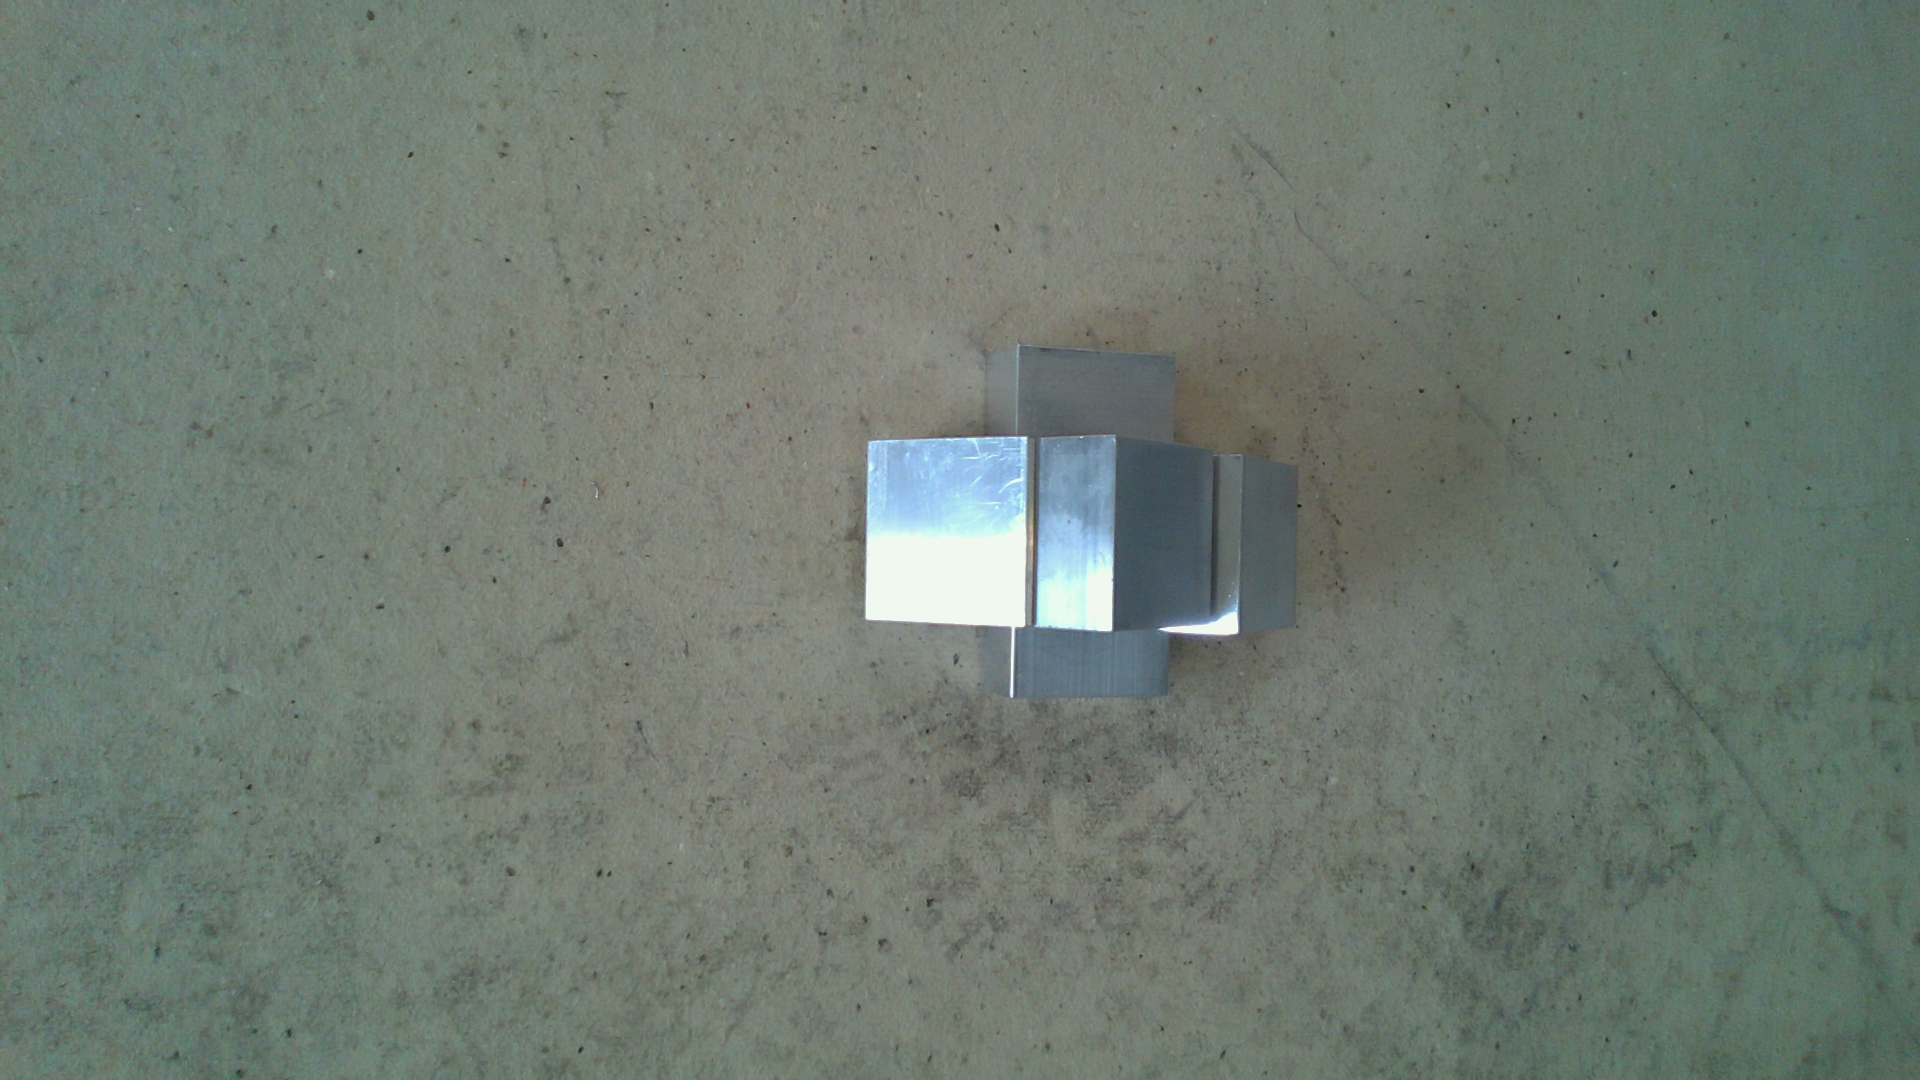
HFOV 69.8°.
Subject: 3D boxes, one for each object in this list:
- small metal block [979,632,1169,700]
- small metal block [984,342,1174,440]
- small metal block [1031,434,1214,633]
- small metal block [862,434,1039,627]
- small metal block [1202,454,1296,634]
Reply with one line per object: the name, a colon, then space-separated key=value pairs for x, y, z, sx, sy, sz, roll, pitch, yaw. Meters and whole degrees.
small metal block: x=0.034 y=0.020 z=0.406 sx=0.050 sy=0.025 sz=0.050 roll=1 pitch=90 yaw=-20
small metal block: x=0.035 y=-0.030 z=0.406 sx=0.050 sy=0.025 sz=0.050 roll=1 pitch=90 yaw=-20
small metal block: x=0.045 y=-0.001 z=0.372 sx=0.050 sy=0.025 sz=0.050 roll=1 pitch=90 yaw=-51
small metal block: x=0.001 y=-0.003 z=0.380 sx=0.025 sy=0.050 sz=0.050 roll=1 pitch=90 yaw=-62
small metal block: x=0.080 y=0.001 z=0.410 sx=0.050 sy=0.025 sz=0.050 roll=1 pitch=90 yaw=-59
